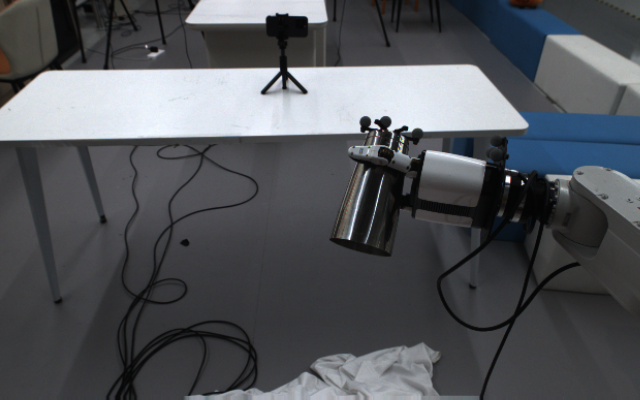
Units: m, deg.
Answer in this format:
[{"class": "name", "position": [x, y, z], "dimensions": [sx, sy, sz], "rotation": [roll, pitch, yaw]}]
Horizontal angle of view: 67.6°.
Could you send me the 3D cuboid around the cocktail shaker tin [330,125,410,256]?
[{"class": "cocktail shaker tin", "position": [0.082, -0.015, 0.706], "dimensions": [0.093, 0.093, 0.170], "rotation": [13, 77, 15]}]
